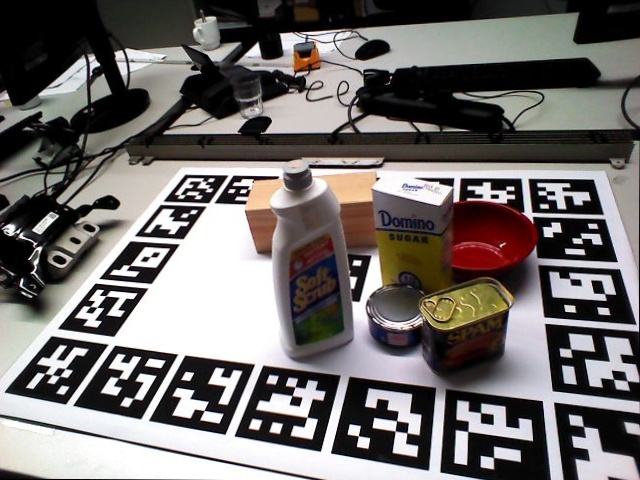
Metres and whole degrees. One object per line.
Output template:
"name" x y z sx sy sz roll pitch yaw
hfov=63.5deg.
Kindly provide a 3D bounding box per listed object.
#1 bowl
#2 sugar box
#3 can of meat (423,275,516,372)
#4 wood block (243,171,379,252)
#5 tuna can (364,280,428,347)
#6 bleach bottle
"bowl" 0.233 0.002 0.727 0.162 0.055 0.161 -10 35 7
"sugar box" 0.126 0.000 0.652 0.093 0.177 0.045 15 46 35
"can of meat" 0.173 0.097 0.600 0.102 0.084 0.057 -15 34 -8
"wood block" -0.007 -0.046 0.829 0.207 0.090 0.090 -3 42 9
"tuna can" 0.100 0.093 0.655 0.086 0.034 0.085 -8 40 6
"bleach bottle" -0.017 0.021 0.604 0.103 0.251 0.067 -14 36 -3
